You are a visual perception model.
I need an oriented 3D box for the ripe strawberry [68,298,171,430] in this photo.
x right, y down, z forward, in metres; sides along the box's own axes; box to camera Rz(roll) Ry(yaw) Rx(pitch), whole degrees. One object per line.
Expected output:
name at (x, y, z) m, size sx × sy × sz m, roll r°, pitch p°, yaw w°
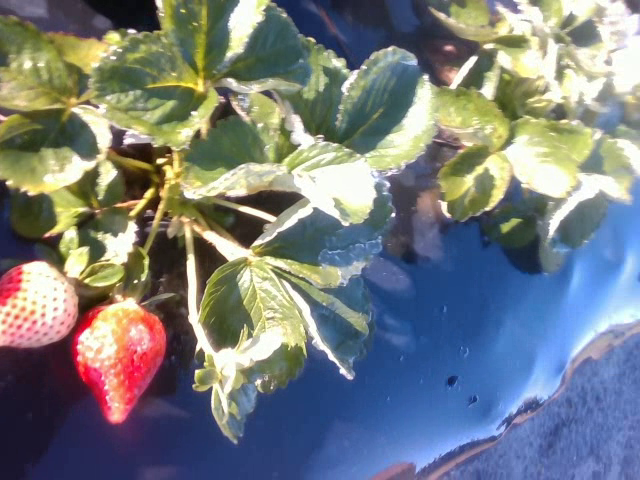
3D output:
ripe strawberry at (-0.076, 0.050, 0.237) m, size 0.040 × 0.037 × 0.056 m, roll -1°, pitch 40°, yaw -11°
